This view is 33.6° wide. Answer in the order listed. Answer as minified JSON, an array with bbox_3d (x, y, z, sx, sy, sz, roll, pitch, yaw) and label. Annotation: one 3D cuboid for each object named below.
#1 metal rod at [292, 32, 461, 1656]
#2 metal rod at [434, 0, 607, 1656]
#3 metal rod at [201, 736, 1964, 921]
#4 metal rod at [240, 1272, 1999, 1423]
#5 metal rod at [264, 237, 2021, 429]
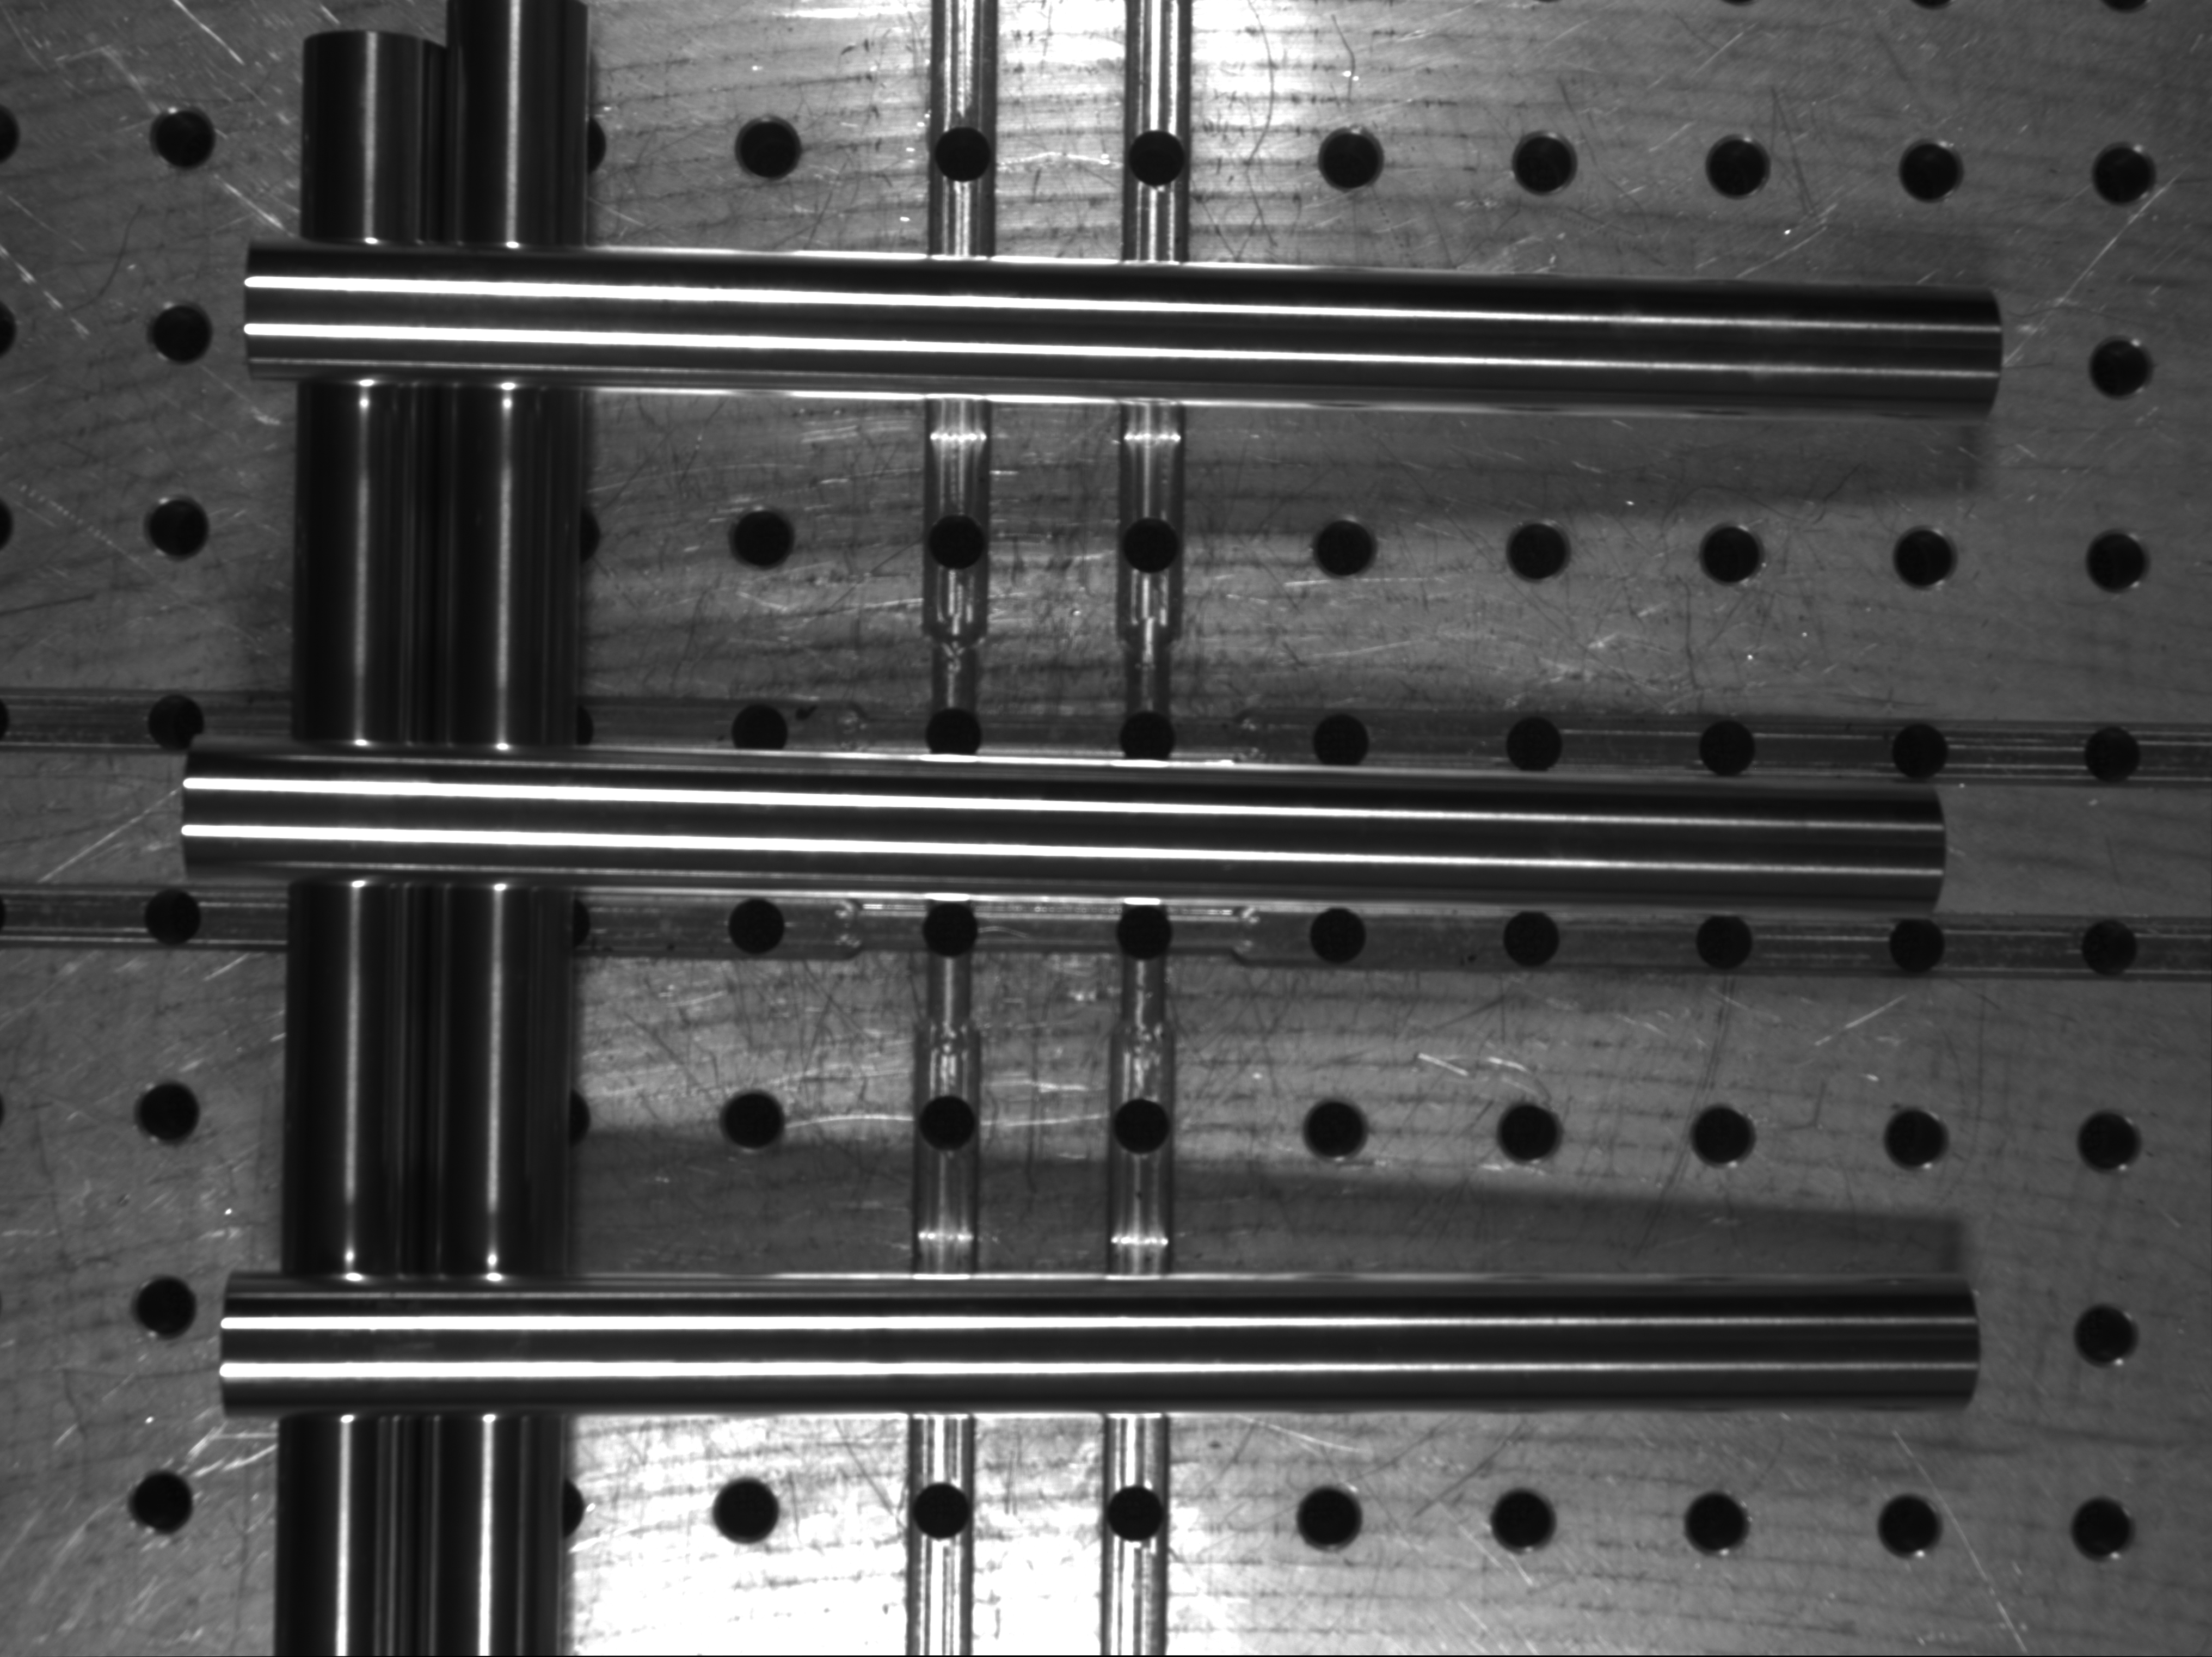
[{"bbox_3d":[-0.128,0.012,0.646,0.025,0.025,0.300,1,90,0],"label":"metal rod"},{"bbox_3d":[-0.103,0.005,0.646,0.025,0.025,0.300,1,90,0],"label":"metal rod"},{"bbox_3d":[-0.001,0.000,0.632,0.300,0.025,0.025,1,90,-7],"label":"metal rod"},{"bbox_3d":[0.005,0.089,0.633,0.300,0.025,0.025,1,90,-7],"label":"metal rod"},{"bbox_3d":[0.009,-0.085,0.633,0.300,0.025,0.025,1,90,-6],"label":"metal rod"}]
